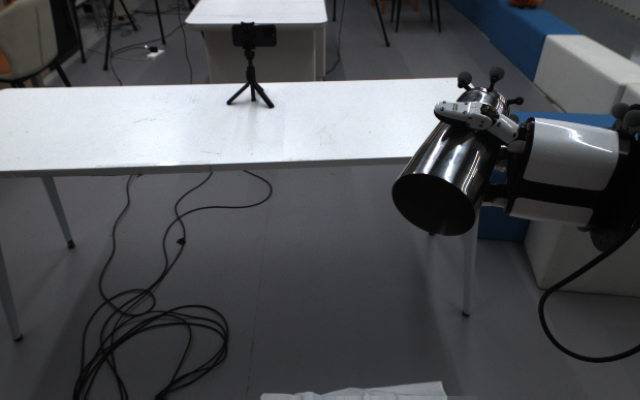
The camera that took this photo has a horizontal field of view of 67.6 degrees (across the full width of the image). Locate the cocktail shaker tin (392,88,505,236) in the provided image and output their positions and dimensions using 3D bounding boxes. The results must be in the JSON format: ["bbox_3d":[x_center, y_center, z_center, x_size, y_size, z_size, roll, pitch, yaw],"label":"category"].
[{"bbox_3d":[0.162,-0.057,0.547,0.093,0.093,0.170,19,55,22],"label":"cocktail shaker tin"}]
